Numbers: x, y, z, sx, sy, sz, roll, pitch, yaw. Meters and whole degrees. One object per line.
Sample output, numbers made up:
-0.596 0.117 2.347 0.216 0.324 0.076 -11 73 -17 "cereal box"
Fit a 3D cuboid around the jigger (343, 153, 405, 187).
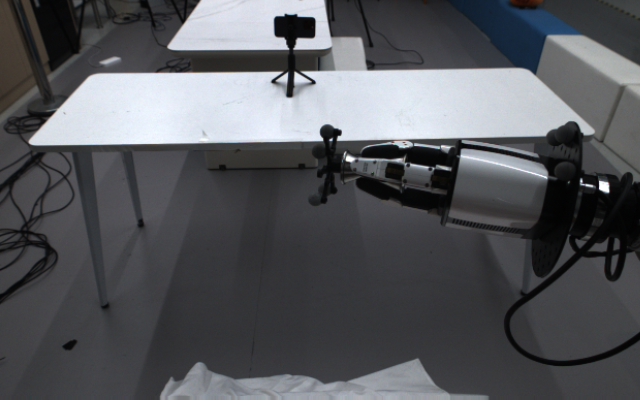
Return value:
0.067 -0.036 0.538 0.071 0.043 0.043 7 35 15 "jigger"
